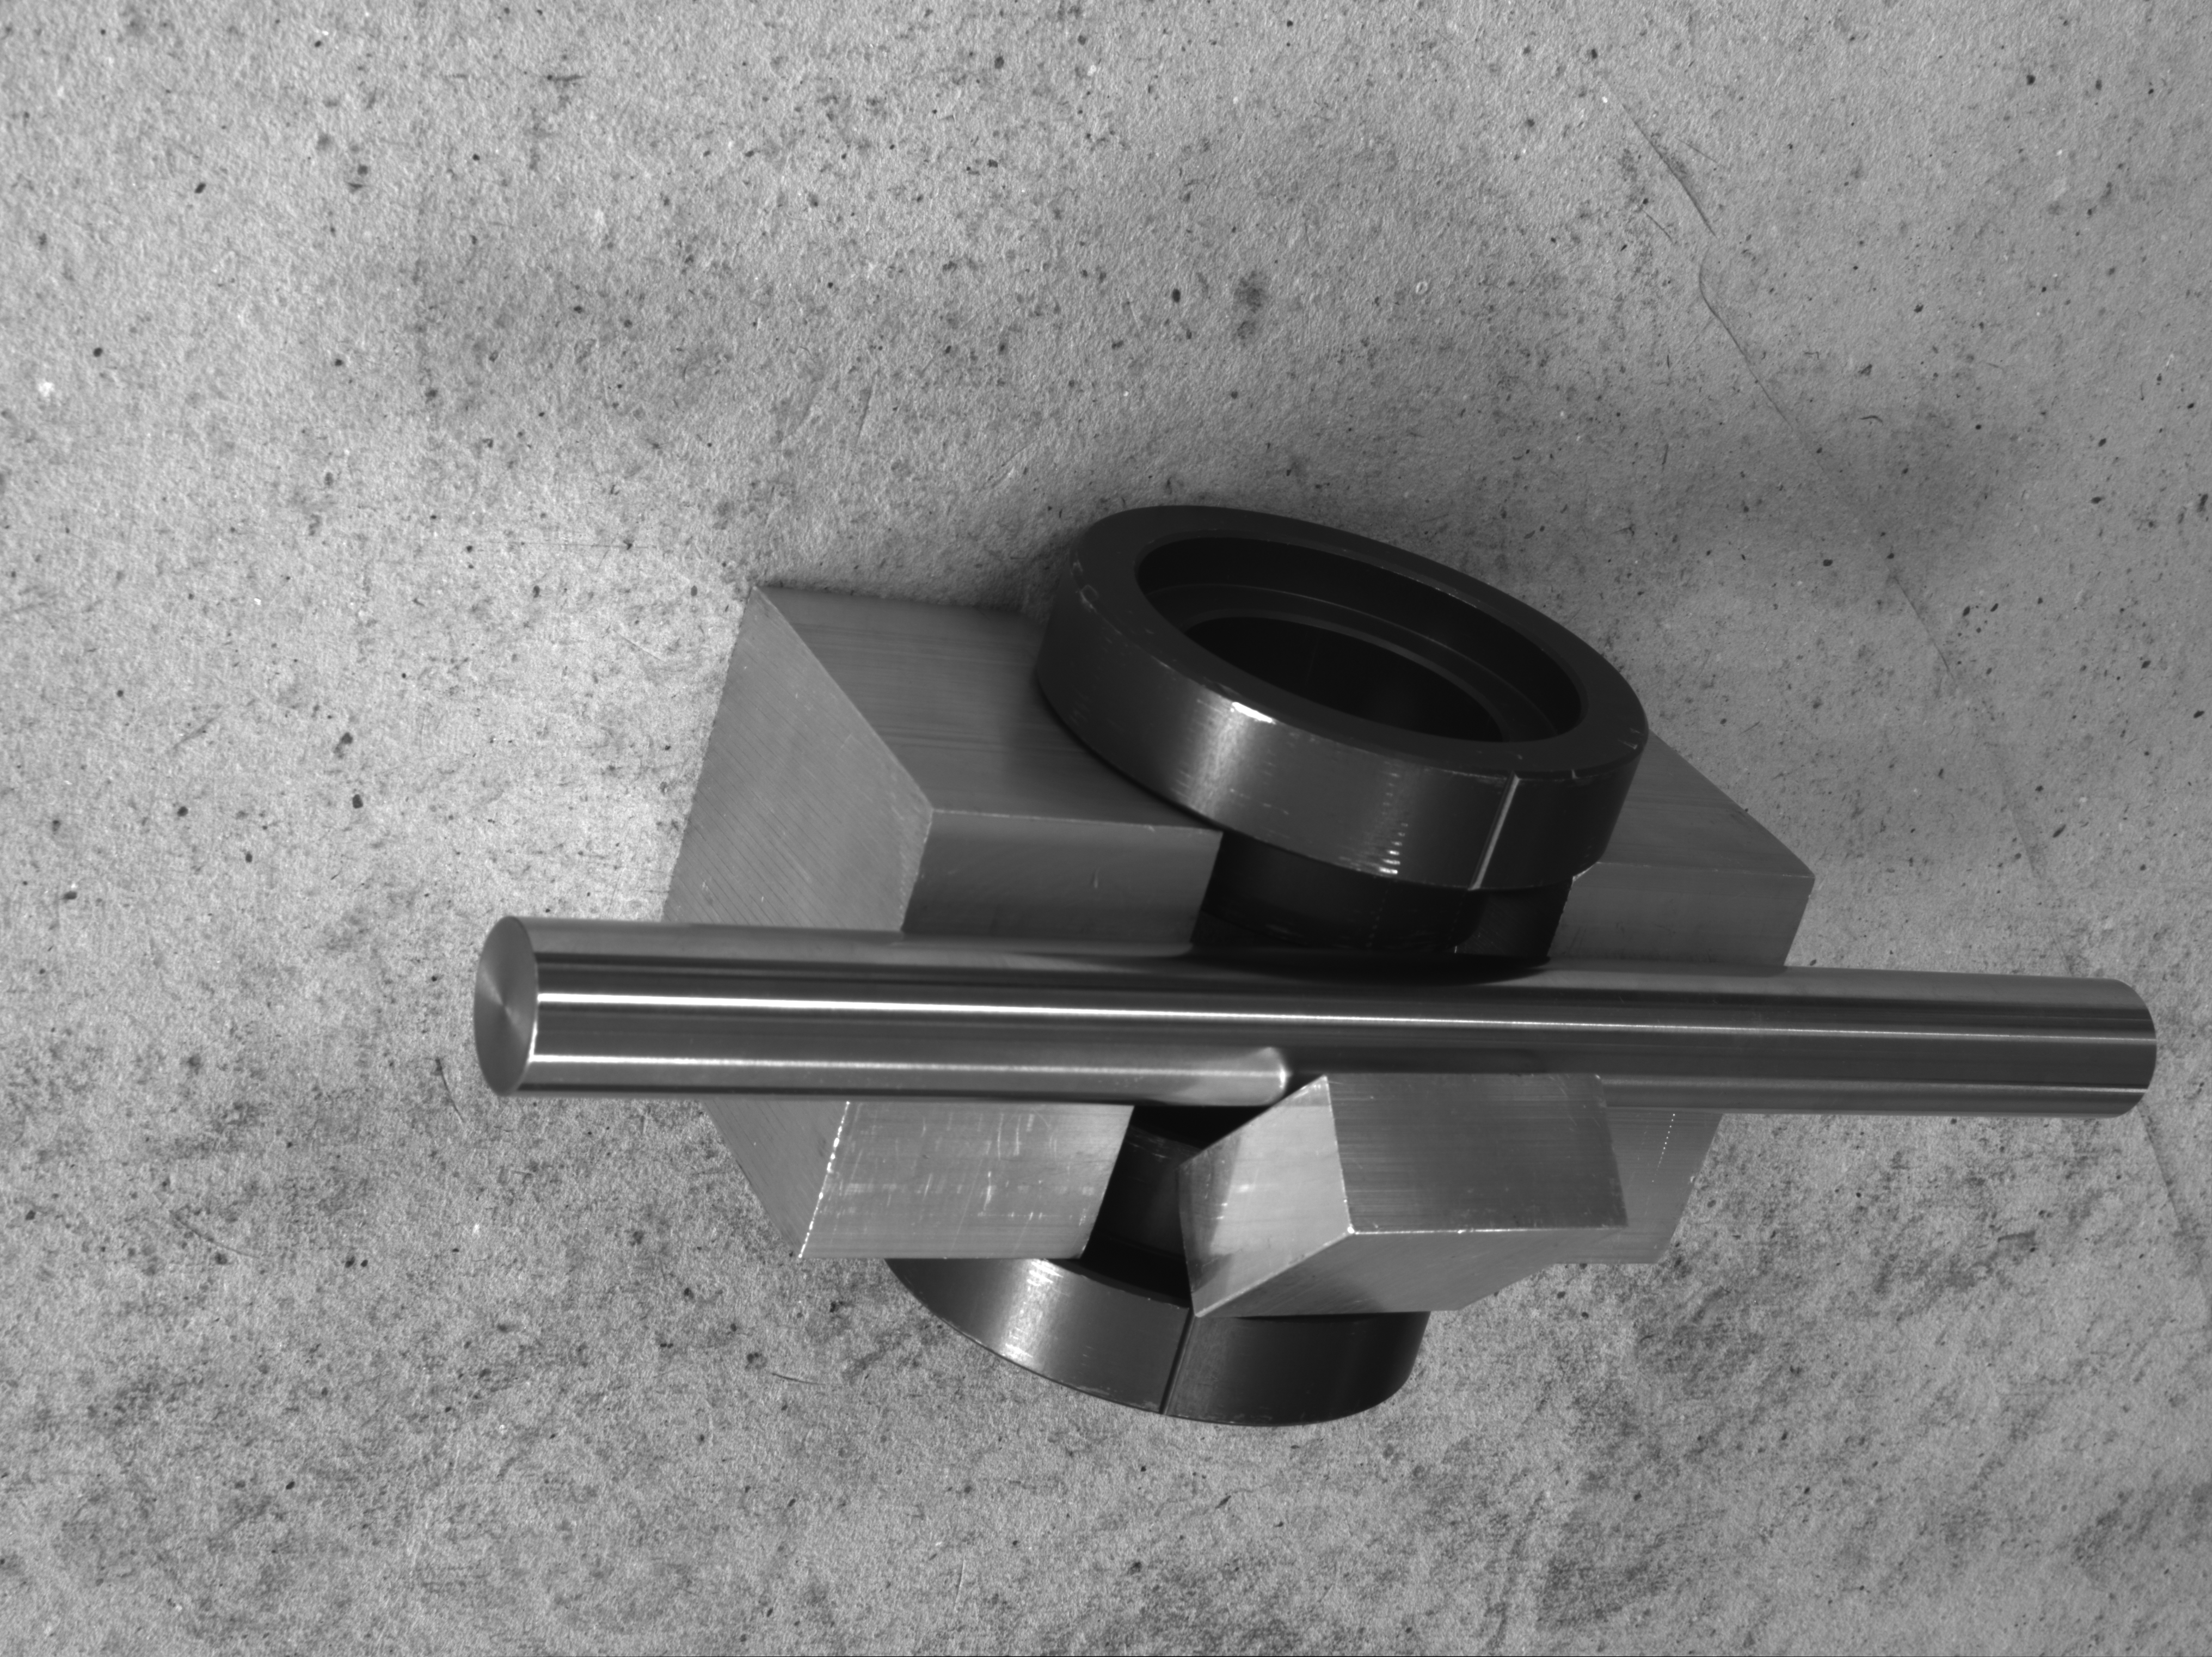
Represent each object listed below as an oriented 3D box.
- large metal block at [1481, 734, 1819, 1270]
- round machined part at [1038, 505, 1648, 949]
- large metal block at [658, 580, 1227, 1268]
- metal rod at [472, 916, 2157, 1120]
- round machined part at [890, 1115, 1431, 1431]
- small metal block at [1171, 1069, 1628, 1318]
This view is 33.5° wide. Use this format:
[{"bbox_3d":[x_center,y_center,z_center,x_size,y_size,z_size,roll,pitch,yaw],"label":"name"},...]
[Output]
[{"bbox_3d":[0.071,0.023,0.655,0.050,0.080,0.080,4,116,-30],"label":"large metal block"},{"bbox_3d":[0.036,-0.013,0.602,0.098,0.098,0.042,4,117,-30],"label":"round machined part"},{"bbox_3d":[-0.031,0.015,0.595,0.050,0.080,0.080,4,116,-30],"label":"large metal block"},{"bbox_3d":[0.048,0.032,0.580,0.301,0.025,0.025,3,117,-30],"label":"metal rod"},{"bbox_3d":[0.012,0.061,0.634,0.098,0.098,0.042,5,111,-30],"label":"round machined part"},{"bbox_3d":[0.045,0.058,0.577,0.050,0.025,0.050,2,157,-27],"label":"small metal block"}]
